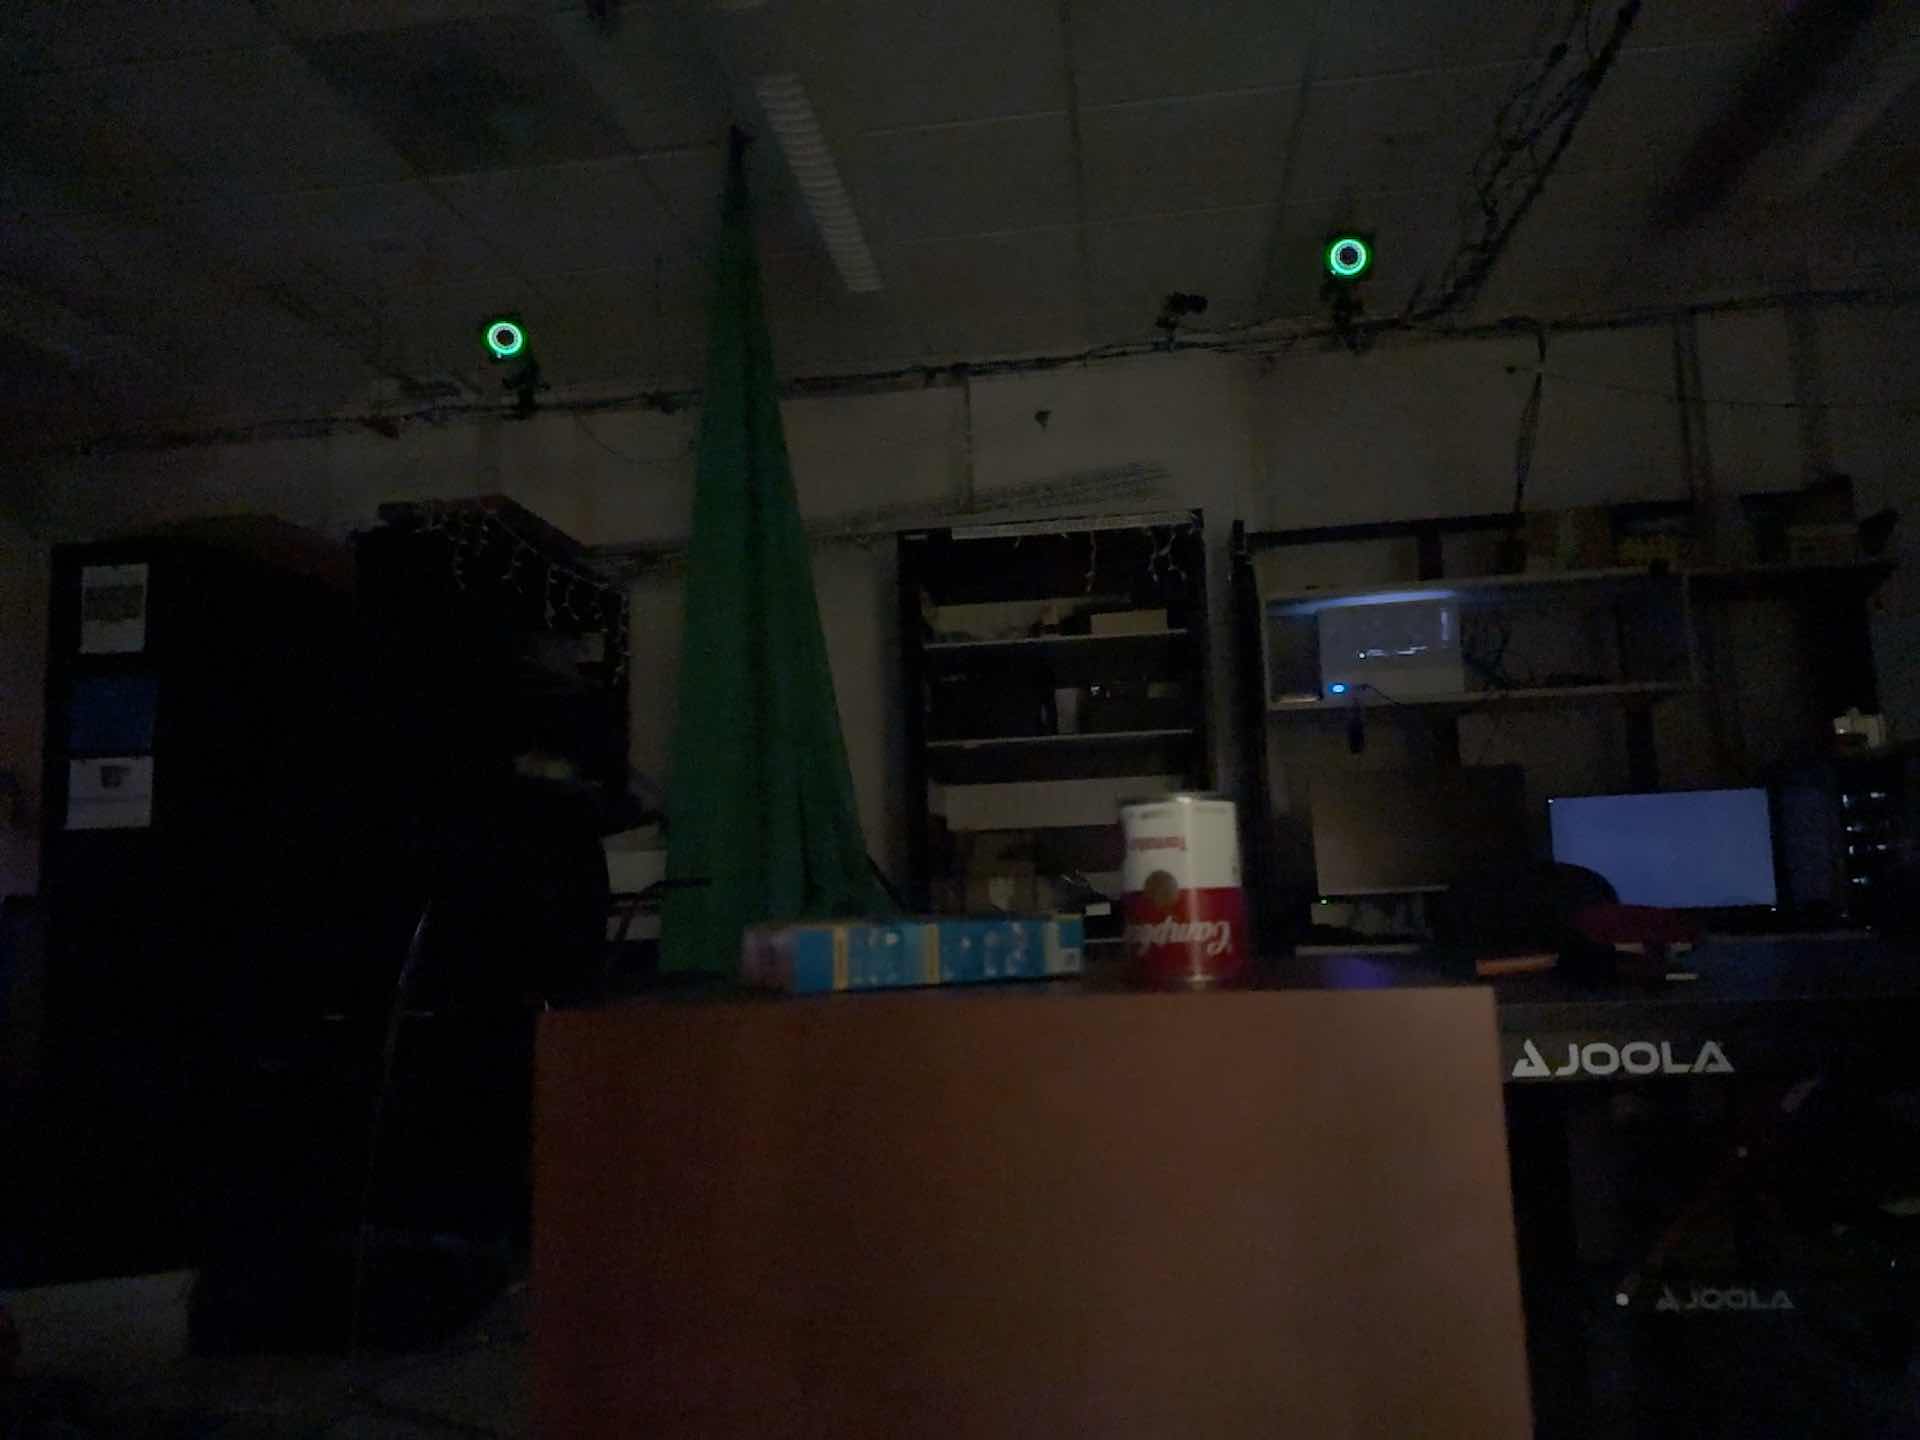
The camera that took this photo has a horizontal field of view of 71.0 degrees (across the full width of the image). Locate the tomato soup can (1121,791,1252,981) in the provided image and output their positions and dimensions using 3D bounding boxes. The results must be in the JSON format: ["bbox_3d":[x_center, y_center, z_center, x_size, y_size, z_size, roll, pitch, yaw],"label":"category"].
[{"bbox_3d":[0.126,0.092,0.753,0.067,0.102,0.067,-2,-6,0],"label":"tomato soup can"}]

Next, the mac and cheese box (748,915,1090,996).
[{"bbox_3d":[-0.024,0.138,0.798,0.181,0.035,0.088,2,-7,-28],"label":"mac and cheese box"}]
